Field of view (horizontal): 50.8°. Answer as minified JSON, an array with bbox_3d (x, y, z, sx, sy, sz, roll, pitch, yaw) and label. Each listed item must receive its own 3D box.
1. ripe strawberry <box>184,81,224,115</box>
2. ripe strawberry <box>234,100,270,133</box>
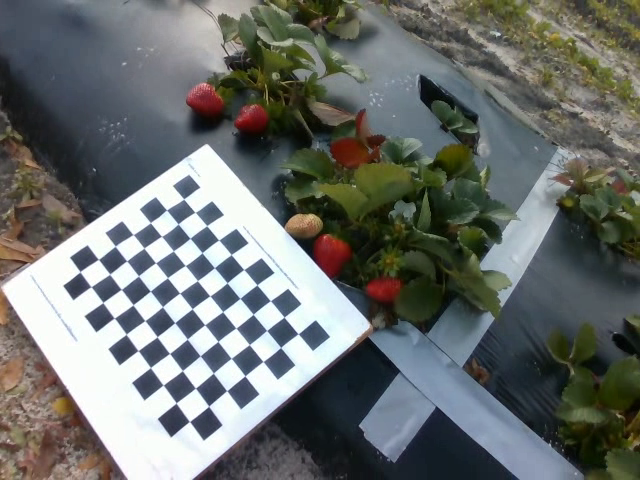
[{"bbox_3d":[-0.154,-0.186,0.871,0.050,0.045,0.061,35,35,21],"label":"ripe strawberry"},{"bbox_3d":[-0.091,-0.165,0.865,0.042,0.034,0.053,29,36,19],"label":"ripe strawberry"}]
